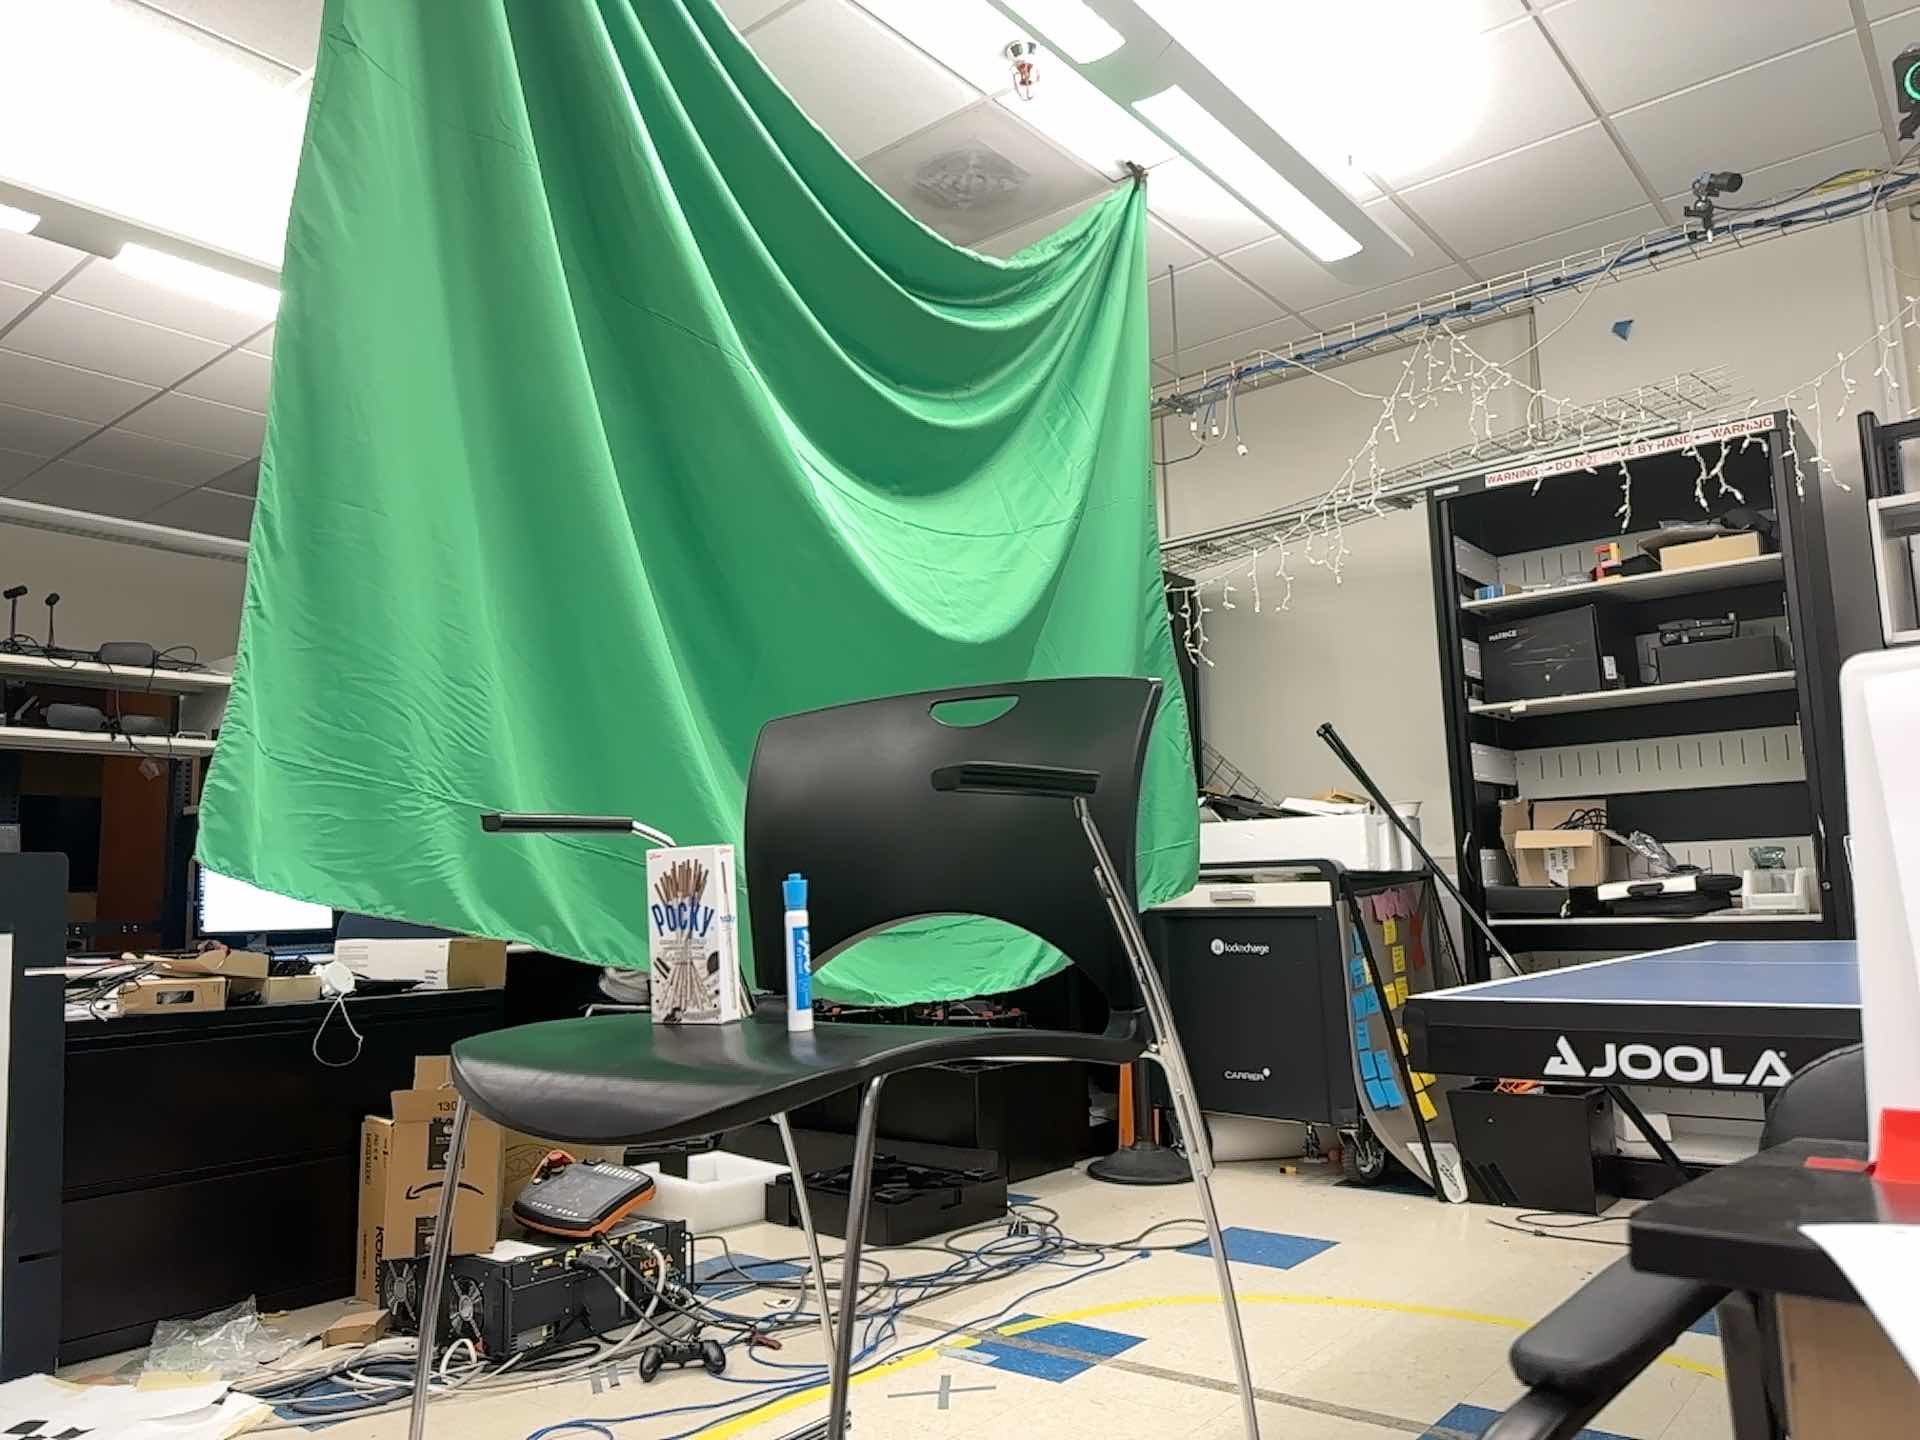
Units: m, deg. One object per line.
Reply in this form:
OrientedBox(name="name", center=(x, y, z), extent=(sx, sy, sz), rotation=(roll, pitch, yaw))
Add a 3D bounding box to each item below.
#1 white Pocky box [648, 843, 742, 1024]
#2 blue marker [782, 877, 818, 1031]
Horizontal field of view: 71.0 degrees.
OrientedBox(name="white Pocky box", center=(-0.234, 0.186, 1.183), extent=(0.084, 0.154, 0.028), rotation=(-6, -4, 34))
OrientedBox(name="blue marker", center=(-0.129, 0.187, 1.081), extent=(0.020, 0.121, 0.020), rotation=(-5, -4, 0))
